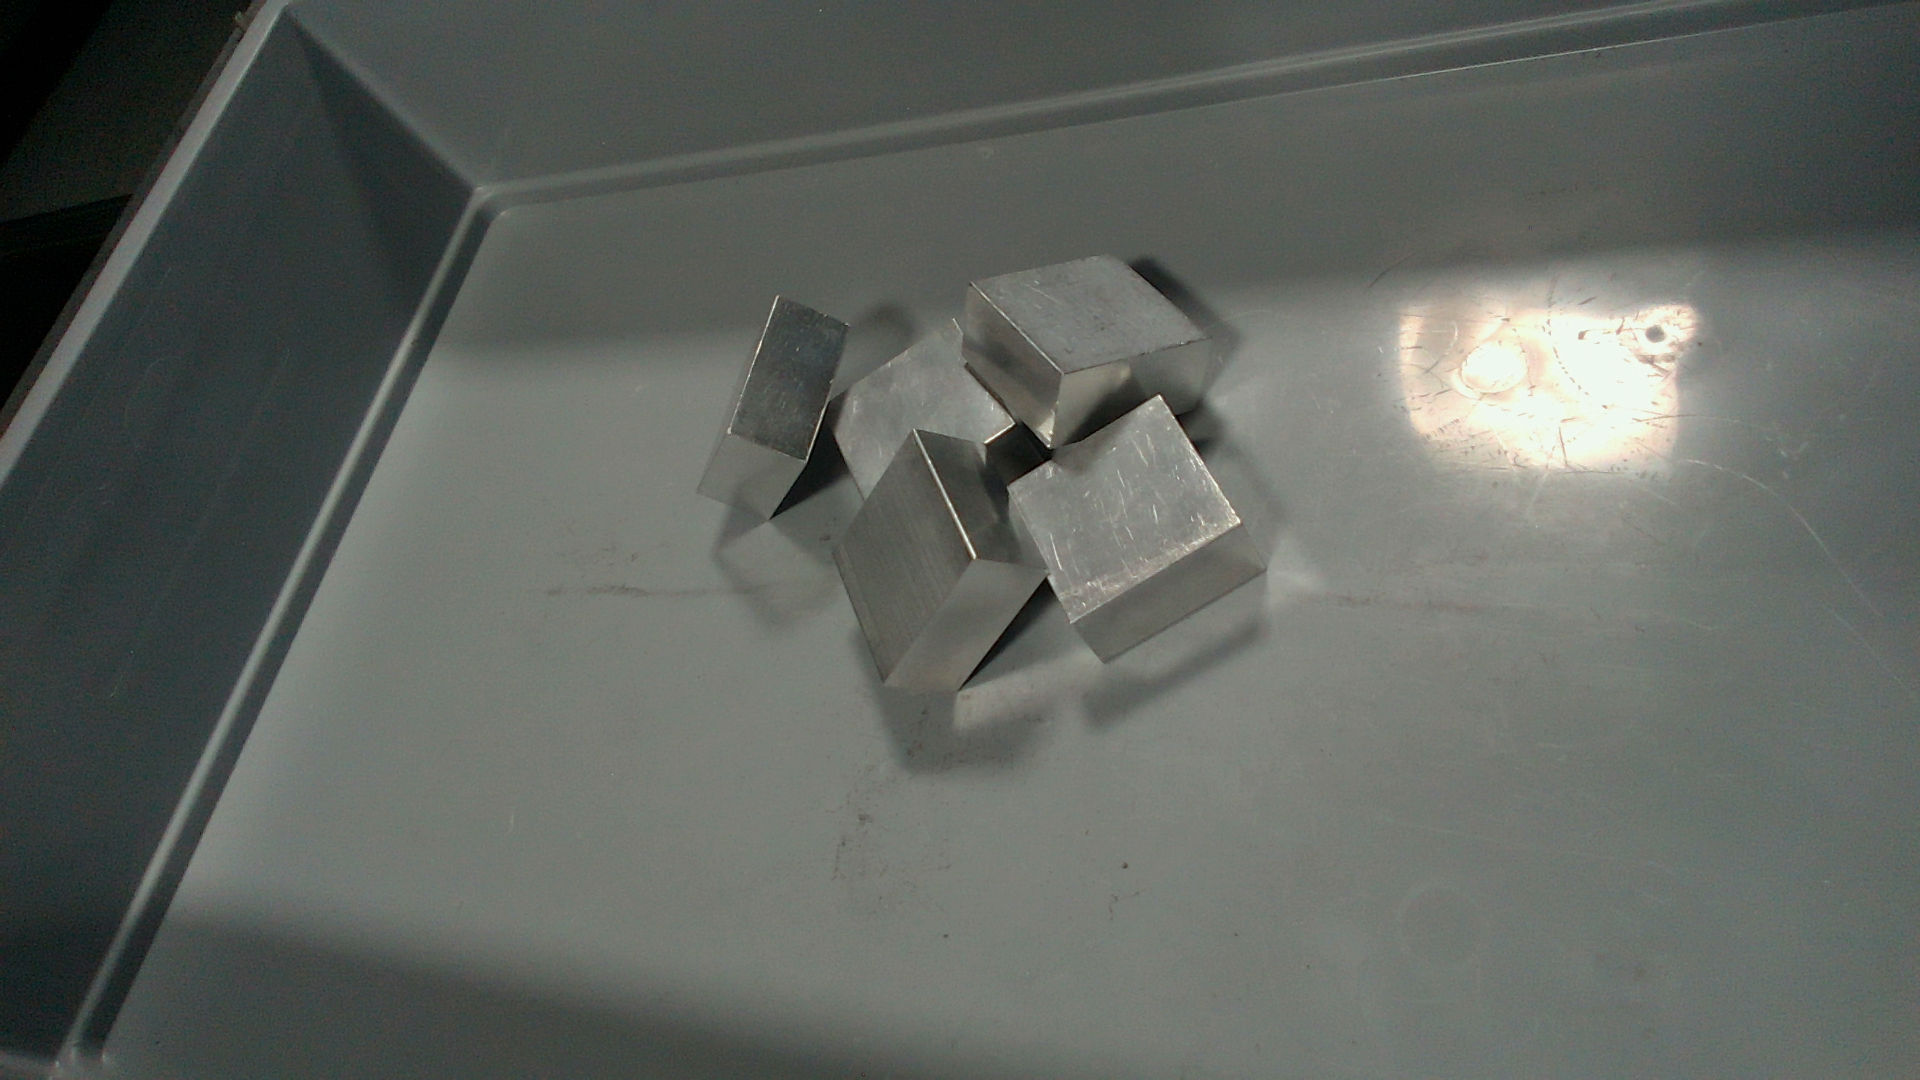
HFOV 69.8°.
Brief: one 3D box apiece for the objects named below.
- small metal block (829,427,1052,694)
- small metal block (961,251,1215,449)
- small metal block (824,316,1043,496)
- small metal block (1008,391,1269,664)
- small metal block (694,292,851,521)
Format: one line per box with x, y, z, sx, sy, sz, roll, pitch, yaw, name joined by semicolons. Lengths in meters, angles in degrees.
-0.007;0.006;0.377;0.050;0.025;0.050;-55;43;31;small metal block
0.035;-0.056;0.393;0.050;0.025;0.050;-16;46;-25;small metal block
-0.008;-0.031;0.416;0.050;0.025;0.050;-33;51;7;small metal block
0.046;-0.004;0.369;0.050;0.025;0.050;-31;51;8;small metal block
-0.059;-0.041;0.432;0.050;0.025;0.050;136;152;-62;small metal block
